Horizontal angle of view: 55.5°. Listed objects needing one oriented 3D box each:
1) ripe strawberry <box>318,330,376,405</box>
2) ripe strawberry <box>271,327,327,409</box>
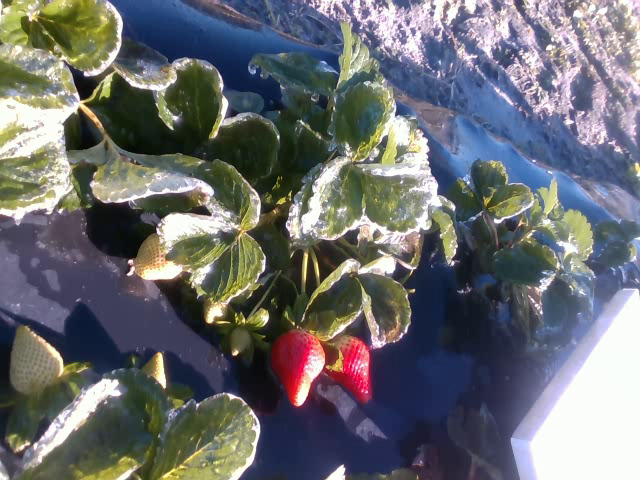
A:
[{"bbox_3d":[0.034,0.111,0.521,0.043,0.059,0.040,-29,12,-39],"label":"ripe strawberry"},{"bbox_3d":[-0.013,0.108,0.493,0.040,0.070,0.052,-7,-30,38],"label":"ripe strawberry"}]
